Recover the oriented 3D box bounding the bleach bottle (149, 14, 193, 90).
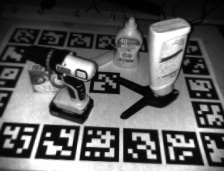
[{"bbox_3d":[0.158,-0.071,0.627,0.103,0.252,0.067,-17,48,-8],"label":"bleach bottle"}]

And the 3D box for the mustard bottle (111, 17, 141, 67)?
[{"bbox_3d":[0.051,-0.152,0.747,0.096,0.192,0.058,14,50,6],"label":"mustard bottle"}]

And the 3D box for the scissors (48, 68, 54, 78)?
[{"bbox_3d":[-0.202,-0.078,0.635,0.202,0.016,0.088,25,56,9],"label":"scissors"}]

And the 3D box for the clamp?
[{"bbox_3d":[0.117,0.007,0.694,0.203,0.037,0.164,-1,52,-8],"label":"clamp"}]

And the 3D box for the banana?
[{"bbox_3d":[-0.060,-0.125,0.800,0.199,0.039,0.073,-30,41,-26],"label":"banana"}]

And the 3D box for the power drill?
[{"bbox_3d":[-0.136,-0.014,0.570,0.184,0.188,0.057,11,43,8],"label":"power drill"}]

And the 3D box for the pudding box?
[{"bbox_3d":[-0.196,-0.030,0.680,0.114,0.090,0.038,6,43,0],"label":"pudding box"}]
